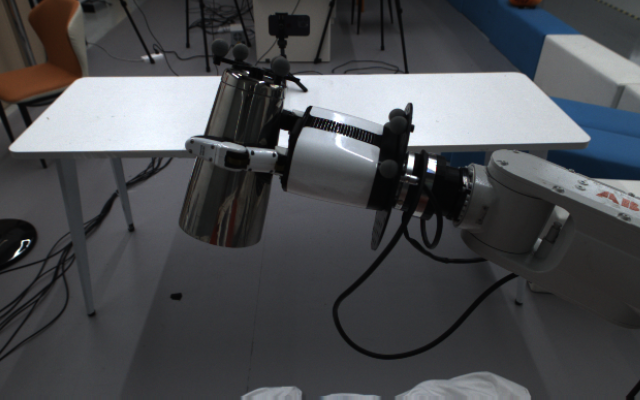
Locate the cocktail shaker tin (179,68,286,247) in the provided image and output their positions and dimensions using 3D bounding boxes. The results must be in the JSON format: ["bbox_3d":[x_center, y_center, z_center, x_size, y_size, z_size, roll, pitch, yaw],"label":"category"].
[{"bbox_3d":[-0.087,-0.046,0.513,0.093,0.170,0.093,15,17,-5],"label":"cocktail shaker tin"}]
